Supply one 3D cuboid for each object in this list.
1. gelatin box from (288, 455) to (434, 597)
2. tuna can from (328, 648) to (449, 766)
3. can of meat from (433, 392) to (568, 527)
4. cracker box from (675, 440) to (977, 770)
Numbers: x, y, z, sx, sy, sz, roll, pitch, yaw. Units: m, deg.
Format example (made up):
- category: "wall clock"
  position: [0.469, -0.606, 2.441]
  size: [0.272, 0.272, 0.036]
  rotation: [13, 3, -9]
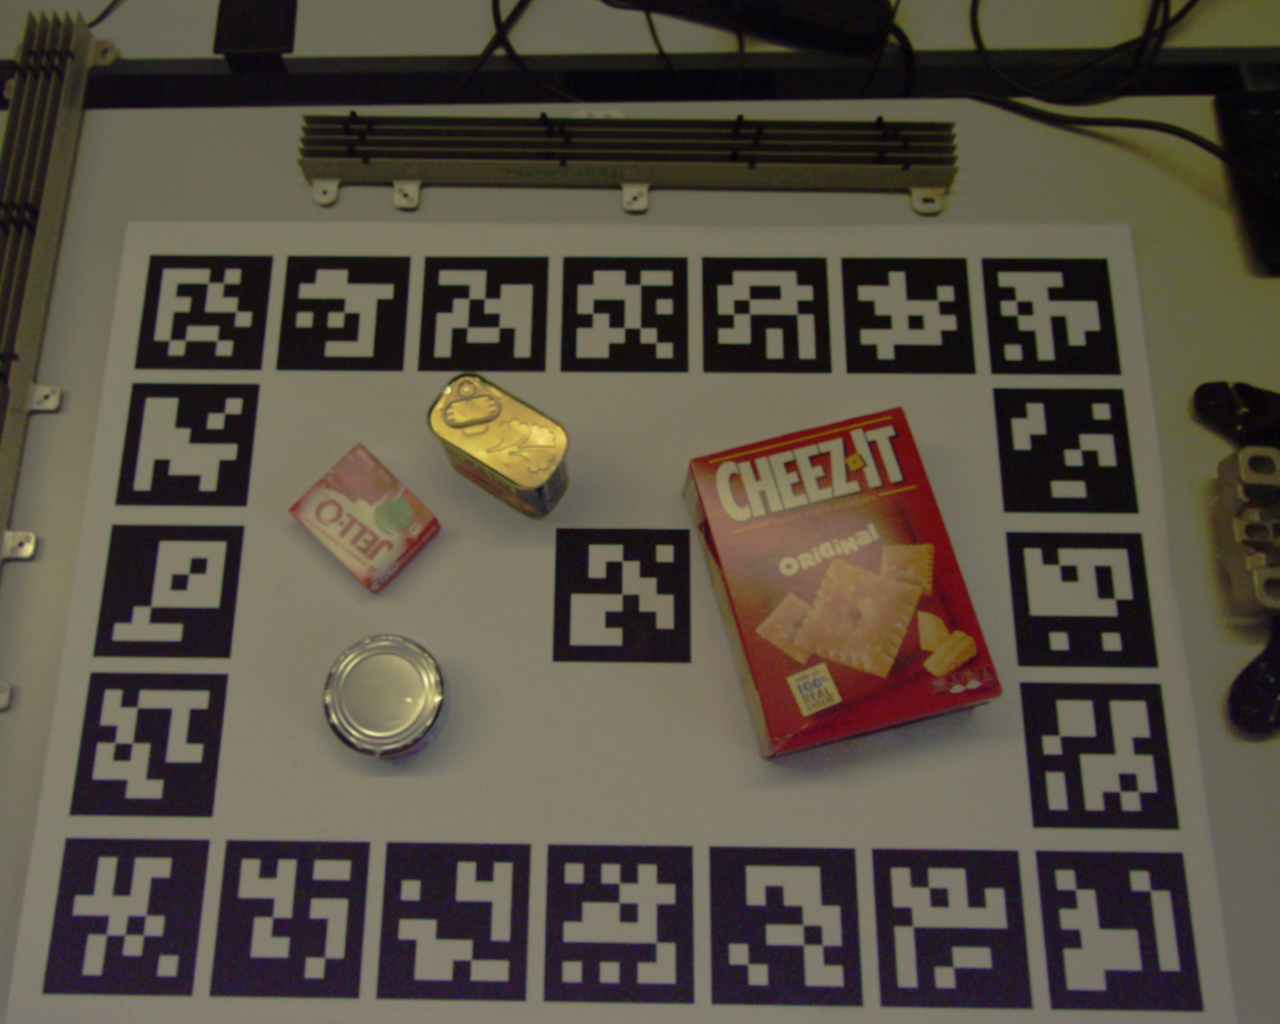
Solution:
- category: "gelatin box"
  position: [-0.219, 0.011, 0.899]
  size: [0.090, 0.030, 0.073]
  rotation: [42, 74, 9]
- category: "tuna can"
  position: [-0.186, 0.146, 0.851]
  size: [0.086, 0.033, 0.086]
  rotation: [0, 75, 1]
- category: "can of meat"
  position: [-0.106, -0.038, 0.895]
  size: [0.102, 0.083, 0.057]
  rotation: [30, 74, 10]
- category: "cracker box"
  position: [0.136, 0.068, 0.864]
  size: [0.164, 0.072, 0.214]
  rotation: [-15, 71, -6]
